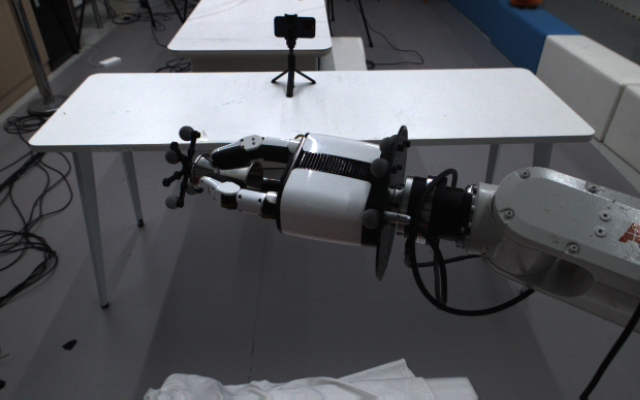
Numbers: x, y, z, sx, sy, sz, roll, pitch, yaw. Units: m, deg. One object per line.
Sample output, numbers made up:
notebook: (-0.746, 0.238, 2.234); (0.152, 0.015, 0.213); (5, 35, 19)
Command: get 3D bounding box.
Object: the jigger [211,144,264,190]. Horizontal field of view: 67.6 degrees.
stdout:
jigger: (-0.097, -0.028, 0.541); (0.071, 0.043, 0.043); (11, 36, 15)
